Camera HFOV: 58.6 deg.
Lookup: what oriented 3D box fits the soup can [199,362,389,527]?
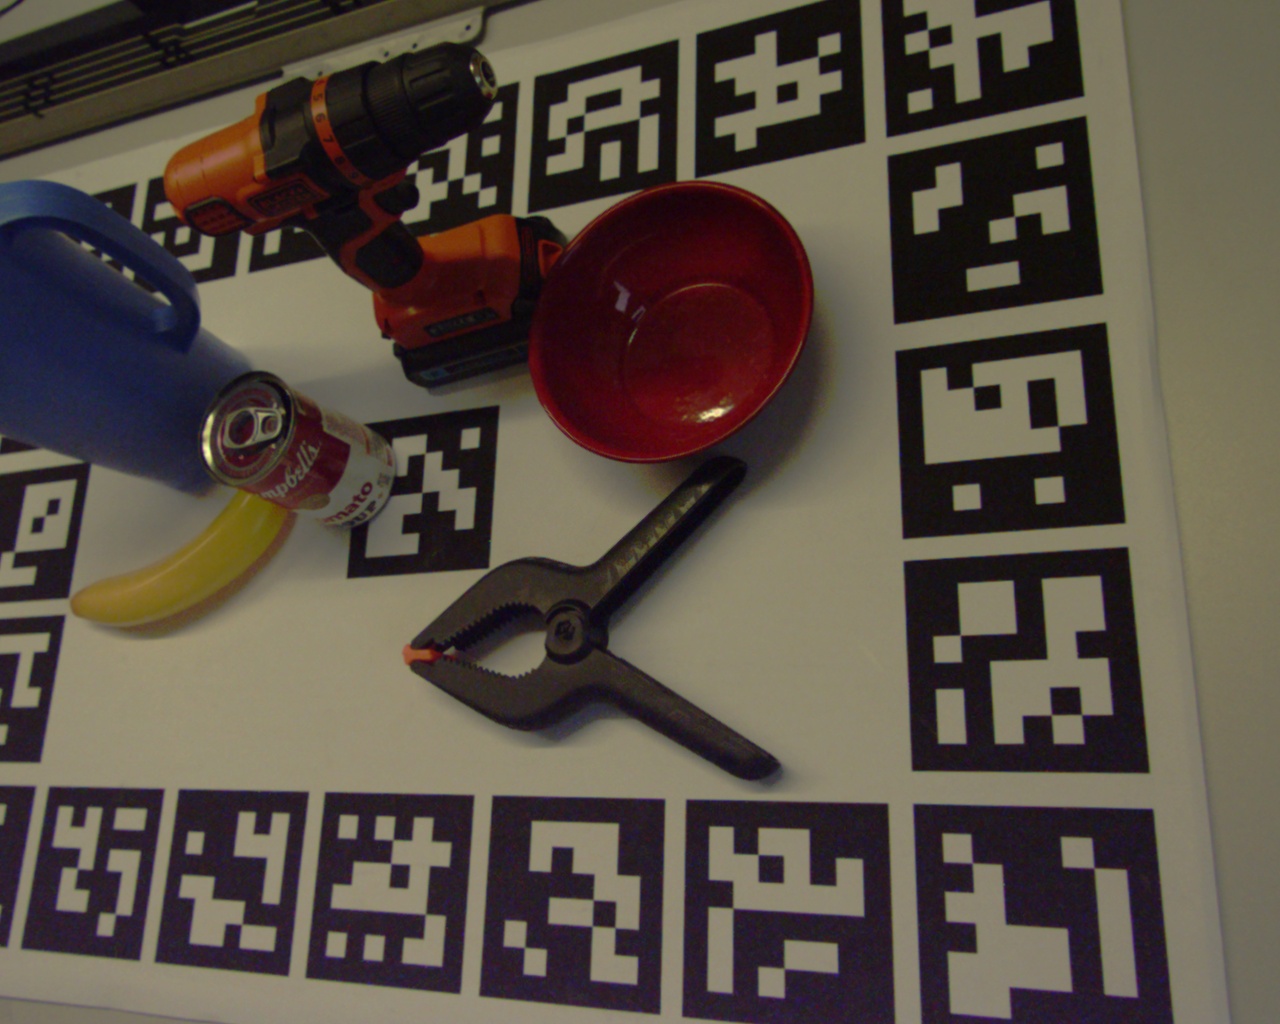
[{"bbox_3d":[-0.212,-0.039,0.708,0.068,0.101,0.068,-10,63,21],"label":"soup can"}]

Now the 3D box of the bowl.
[{"bbox_3d":[0.007,-0.093,0.648,0.163,0.054,0.162,-6,75,23],"label":"bowl"}]

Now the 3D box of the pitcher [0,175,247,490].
[{"bbox_3d":[-0.350,-0.105,0.710,0.190,0.239,0.134,-30,63,14],"label":"pitcher"}]

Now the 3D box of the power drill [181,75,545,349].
[{"bbox_3d":[-0.126,-0.159,0.632,0.186,0.185,0.057,-11,72,21],"label":"power drill"}]

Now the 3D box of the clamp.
[{"bbox_3d":[-0.048,0.066,0.632,0.205,0.036,0.166,-8,76,22],"label":"clamp"}]

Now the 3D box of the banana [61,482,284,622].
[{"bbox_3d":[-0.314,0.029,0.773,0.198,0.038,0.075,-30,57,12],"label":"banana"}]
